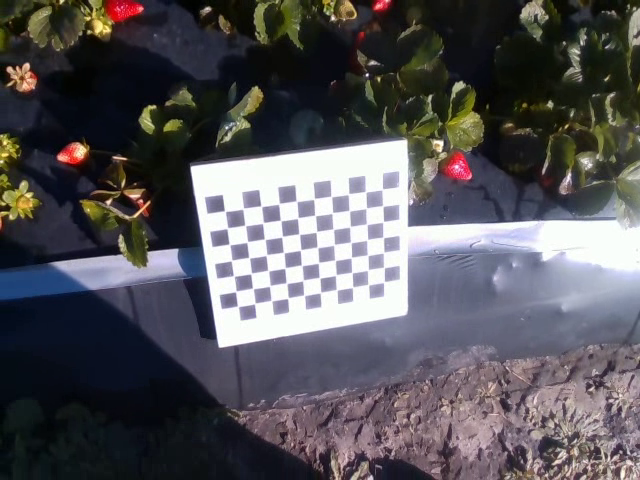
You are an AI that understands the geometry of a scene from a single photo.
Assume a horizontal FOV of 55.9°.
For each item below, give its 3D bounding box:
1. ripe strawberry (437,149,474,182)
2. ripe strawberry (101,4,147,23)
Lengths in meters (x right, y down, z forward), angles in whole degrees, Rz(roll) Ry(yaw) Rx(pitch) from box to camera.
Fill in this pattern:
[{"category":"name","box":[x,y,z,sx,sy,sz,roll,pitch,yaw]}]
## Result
[{"category":"ripe strawberry","box":[0.207,-0.106,0.900,0.055,0.048,0.029,36,11,-22]},{"category":"ripe strawberry","box":[-0.288,-0.344,0.886,0.064,0.049,0.052,2,22,-3]}]
